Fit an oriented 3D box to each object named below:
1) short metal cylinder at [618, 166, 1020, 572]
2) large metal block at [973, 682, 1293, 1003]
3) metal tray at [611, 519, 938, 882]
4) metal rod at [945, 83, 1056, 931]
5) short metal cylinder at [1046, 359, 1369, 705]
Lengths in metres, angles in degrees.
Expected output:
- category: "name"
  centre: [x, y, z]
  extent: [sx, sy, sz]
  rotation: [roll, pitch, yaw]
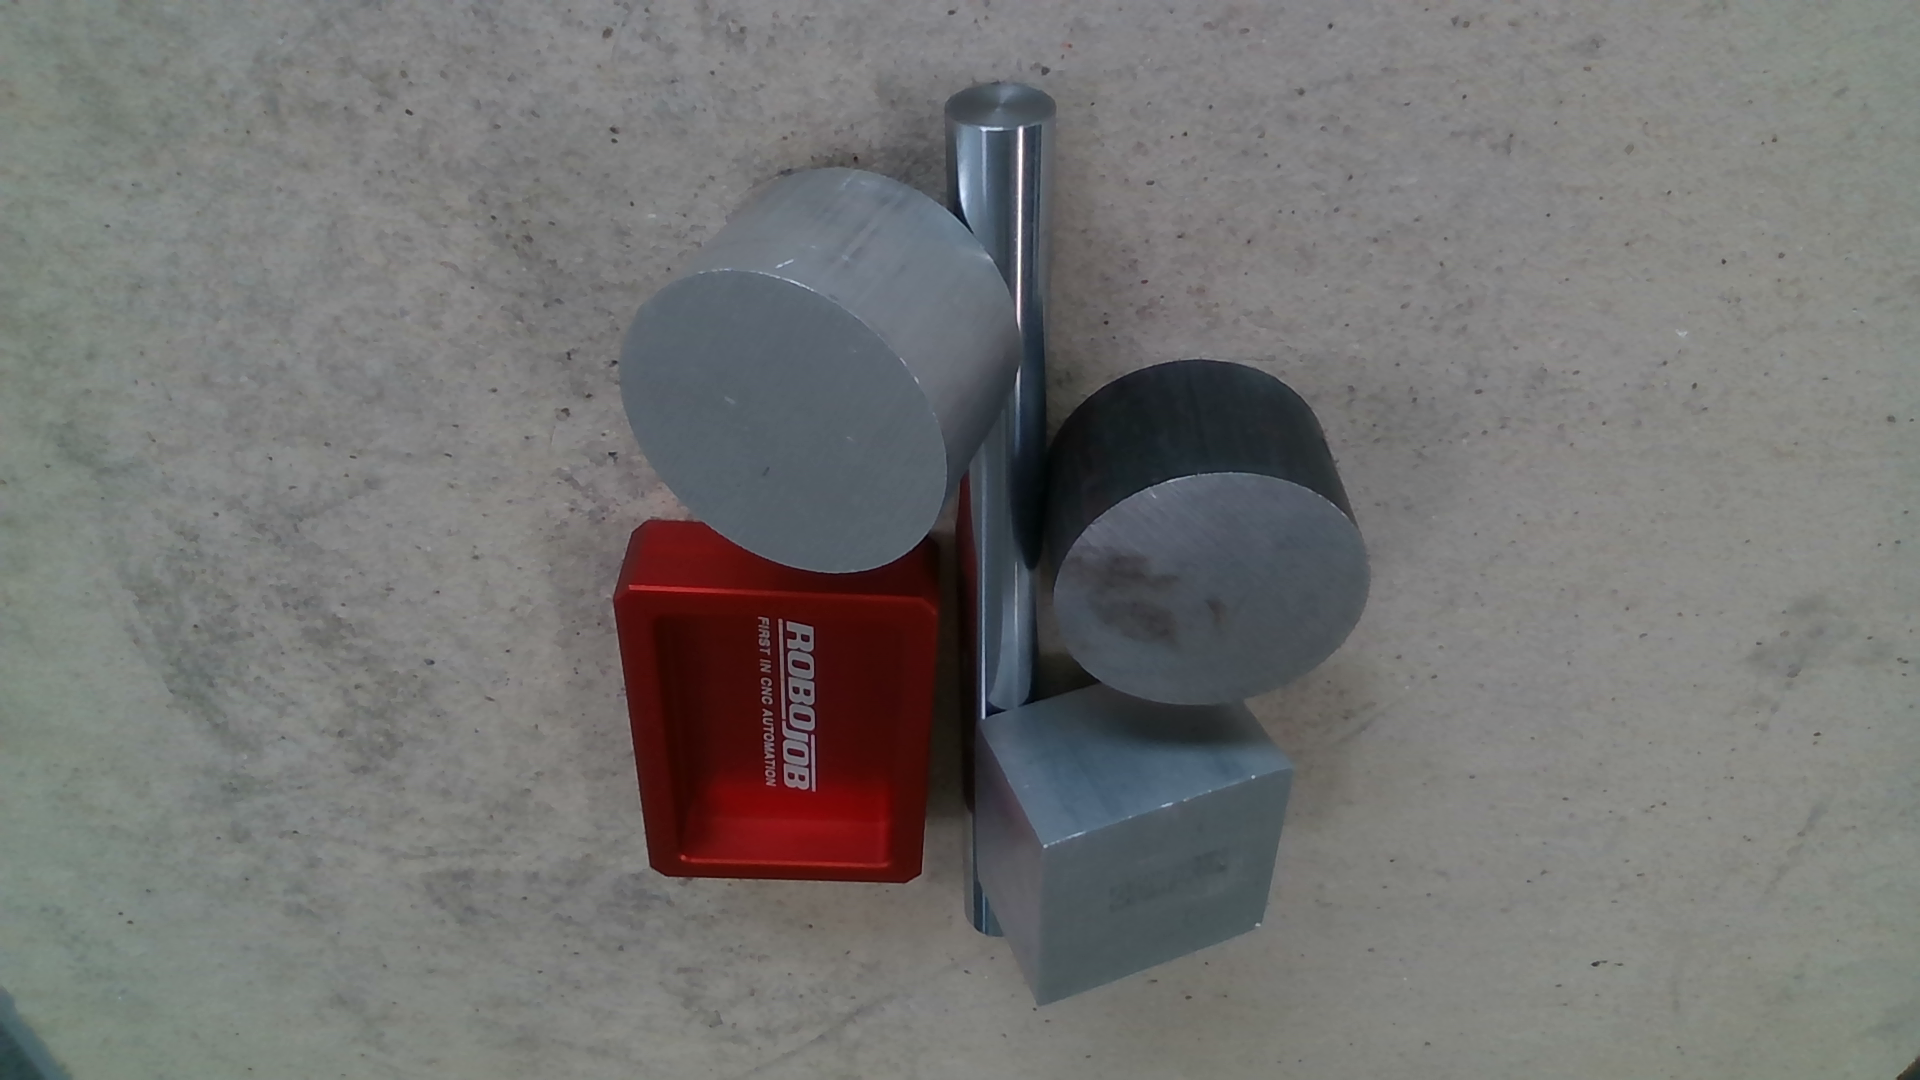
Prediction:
- category: "short metal cylinder"
  centre: [-0.032, -0.039, 0.323]
  extent: [0.080, 0.050, 0.080]
  rotation: [14, 133, 15]
- category: "large metal block"
  centre: [0.051, 0.089, 0.432]
  extent: [0.080, 0.050, 0.080]
  rotation: [-15, 132, -16]
- category: "metal tray"
  centre: [-0.055, 0.054, 0.431]
  extent: [0.090, 0.030, 0.130]
  rotation: [3, 130, -2]
- category: "metal rod"
  centre: [0.011, 0.018, 0.405]
  extent: [0.025, 0.025, 0.301]
  rotation: [-1, 130, 1]
- category: "short metal cylinder"
  centre: [0.064, -0.001, 0.372]
  extent: [0.080, 0.050, 0.080]
  rotation: [0, 130, 0]
